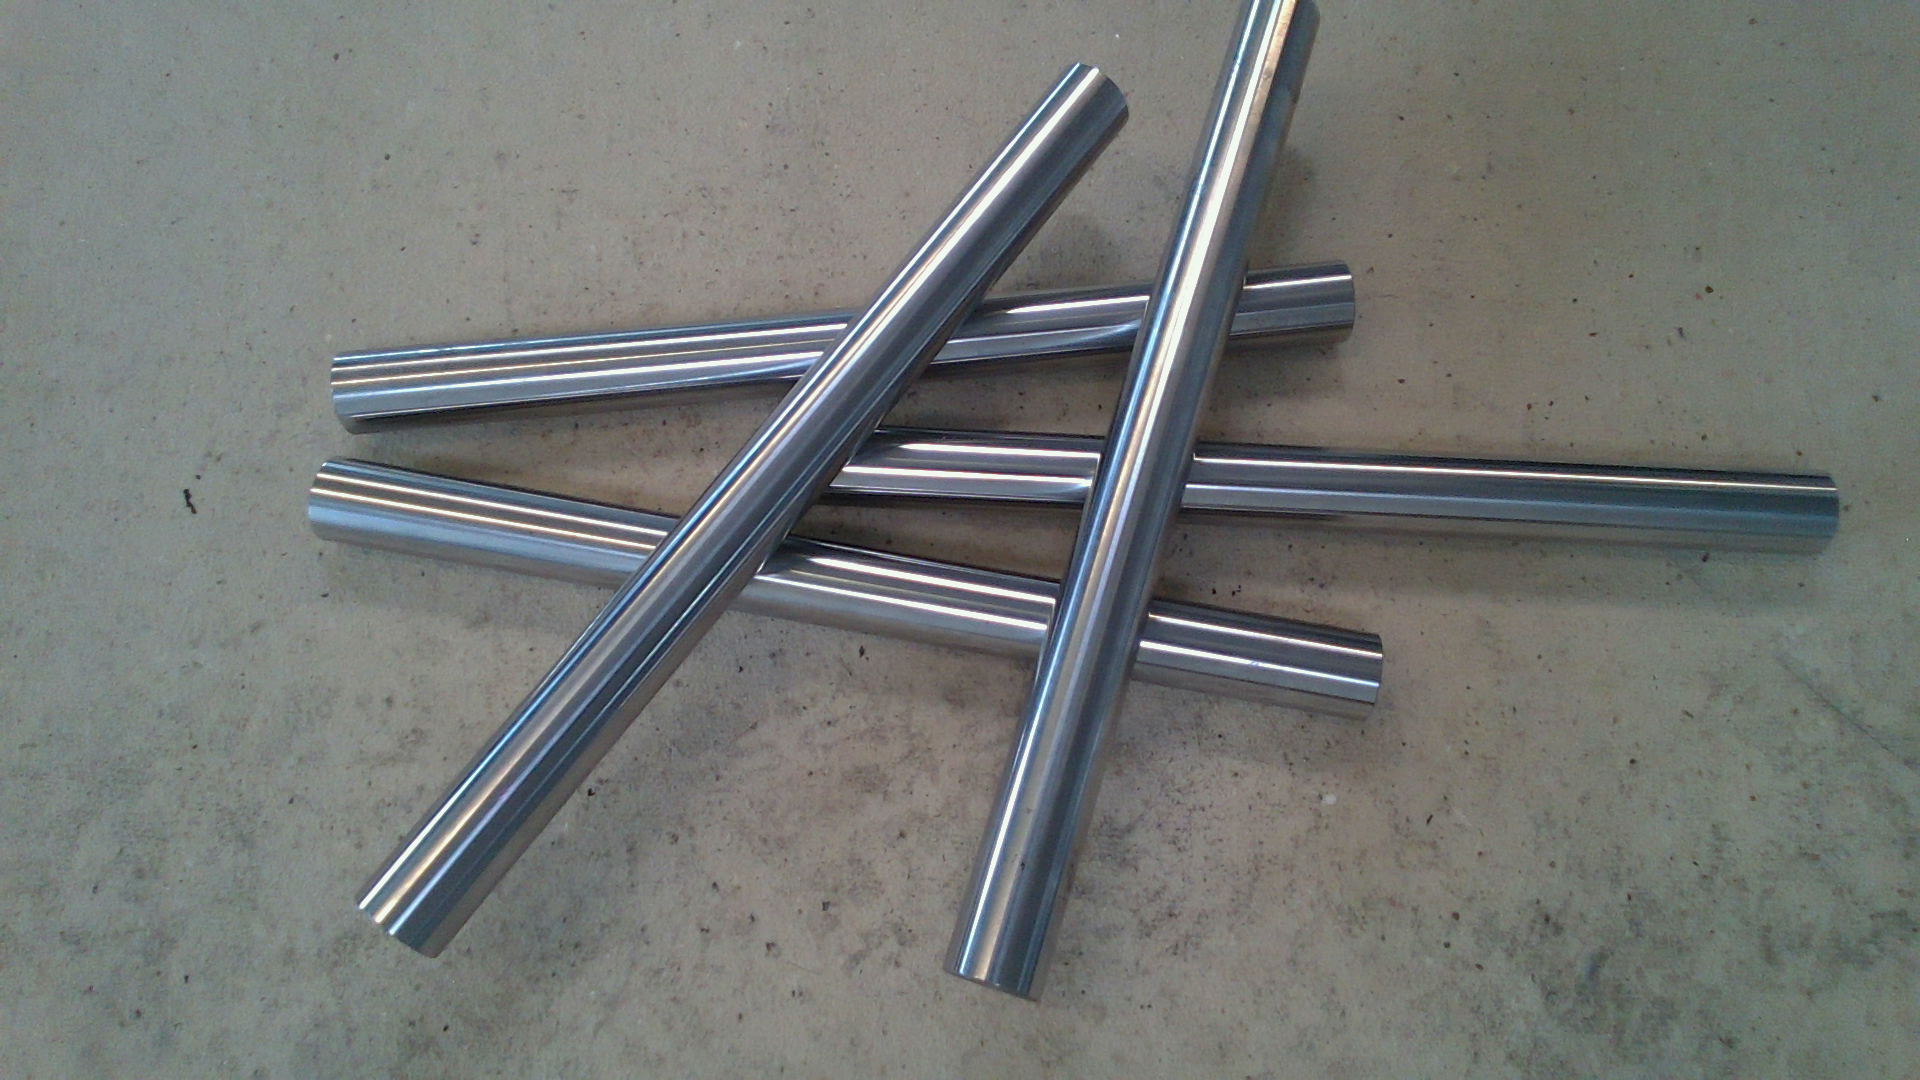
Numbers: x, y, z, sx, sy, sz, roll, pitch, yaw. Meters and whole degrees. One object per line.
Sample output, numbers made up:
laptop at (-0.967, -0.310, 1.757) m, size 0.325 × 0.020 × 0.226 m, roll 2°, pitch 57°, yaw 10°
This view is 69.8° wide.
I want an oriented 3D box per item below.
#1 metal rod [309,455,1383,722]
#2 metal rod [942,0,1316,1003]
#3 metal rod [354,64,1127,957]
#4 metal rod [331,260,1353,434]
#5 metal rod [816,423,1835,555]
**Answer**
metal rod at (-0.034, 0.013, 0.390) m, size 0.300 × 0.025 × 0.025 m, roll 10°, pitch 70°, yaw 3°
metal rod at (0.053, -0.027, 0.378) m, size 0.025 × 0.025 × 0.300 m, roll 17°, pitch 71°, yaw 6°
metal rod at (-0.048, -0.020, 0.376) m, size 0.025 × 0.025 × 0.300 m, roll 34°, pitch 73°, yaw 12°
metal rod at (-0.033, -0.059, 0.416) m, size 0.300 × 0.025 × 0.025 m, roll -6°, pitch 70°, yaw -2°
metal rod at (0.096, -0.016, 0.401) m, size 0.300 × 0.025 × 0.025 m, roll 3°, pitch 70°, yaw 1°
